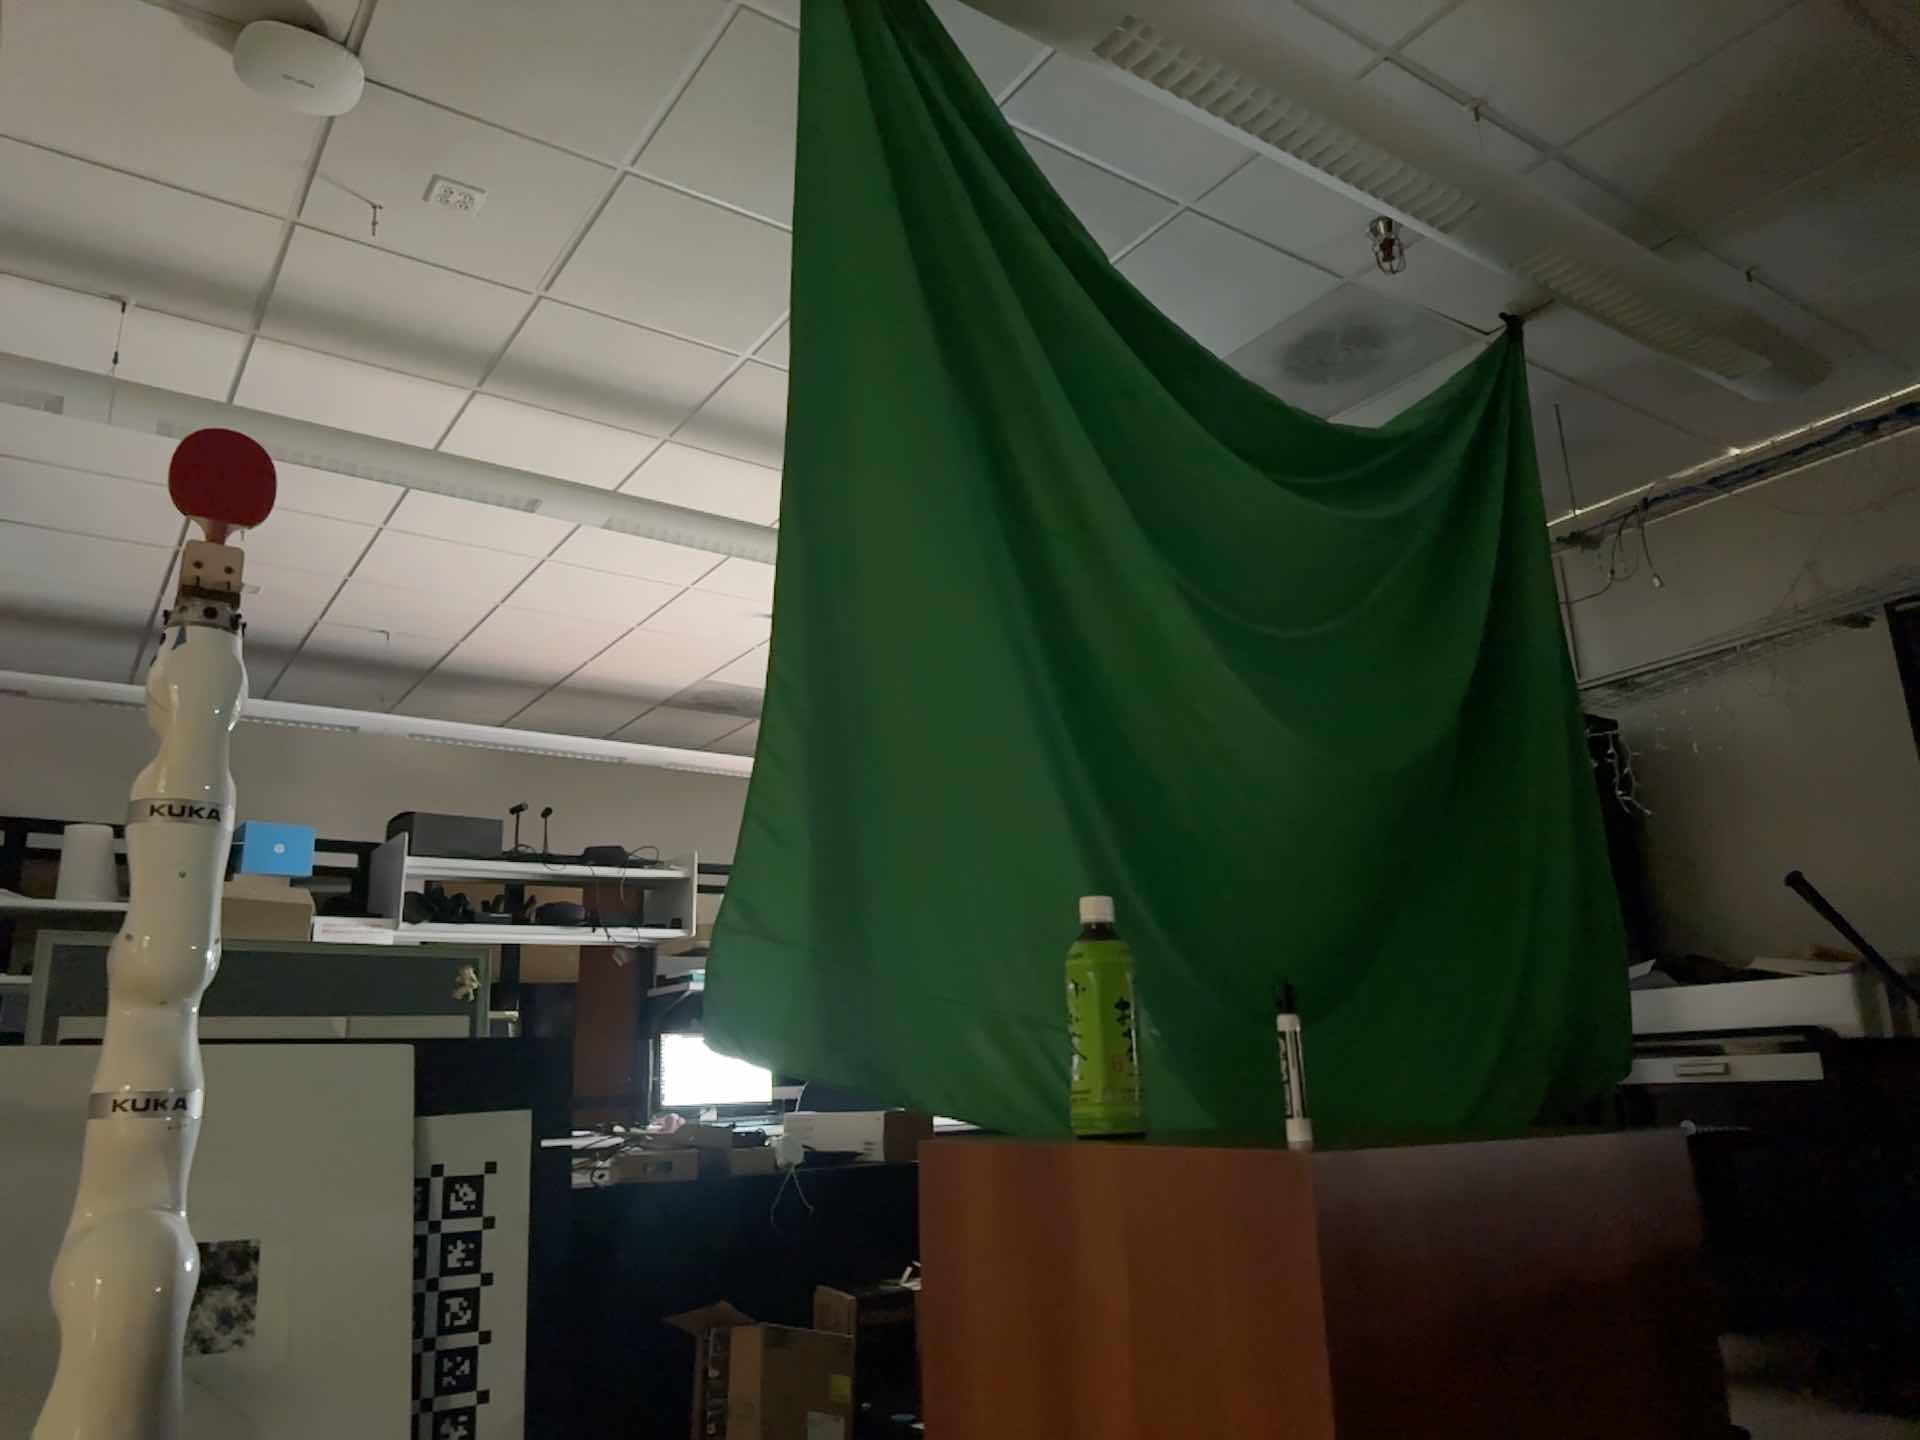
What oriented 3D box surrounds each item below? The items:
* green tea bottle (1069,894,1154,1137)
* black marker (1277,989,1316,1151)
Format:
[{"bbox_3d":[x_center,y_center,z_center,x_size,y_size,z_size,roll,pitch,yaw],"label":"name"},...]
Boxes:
[{"bbox_3d":[0.133,0.265,1.213,0.073,0.212,0.073,-3,-16,-1],"label":"green tea bottle"},{"bbox_3d":[0.261,0.271,1.047,0.020,0.121,0.020,-2,-12,0],"label":"black marker"}]
